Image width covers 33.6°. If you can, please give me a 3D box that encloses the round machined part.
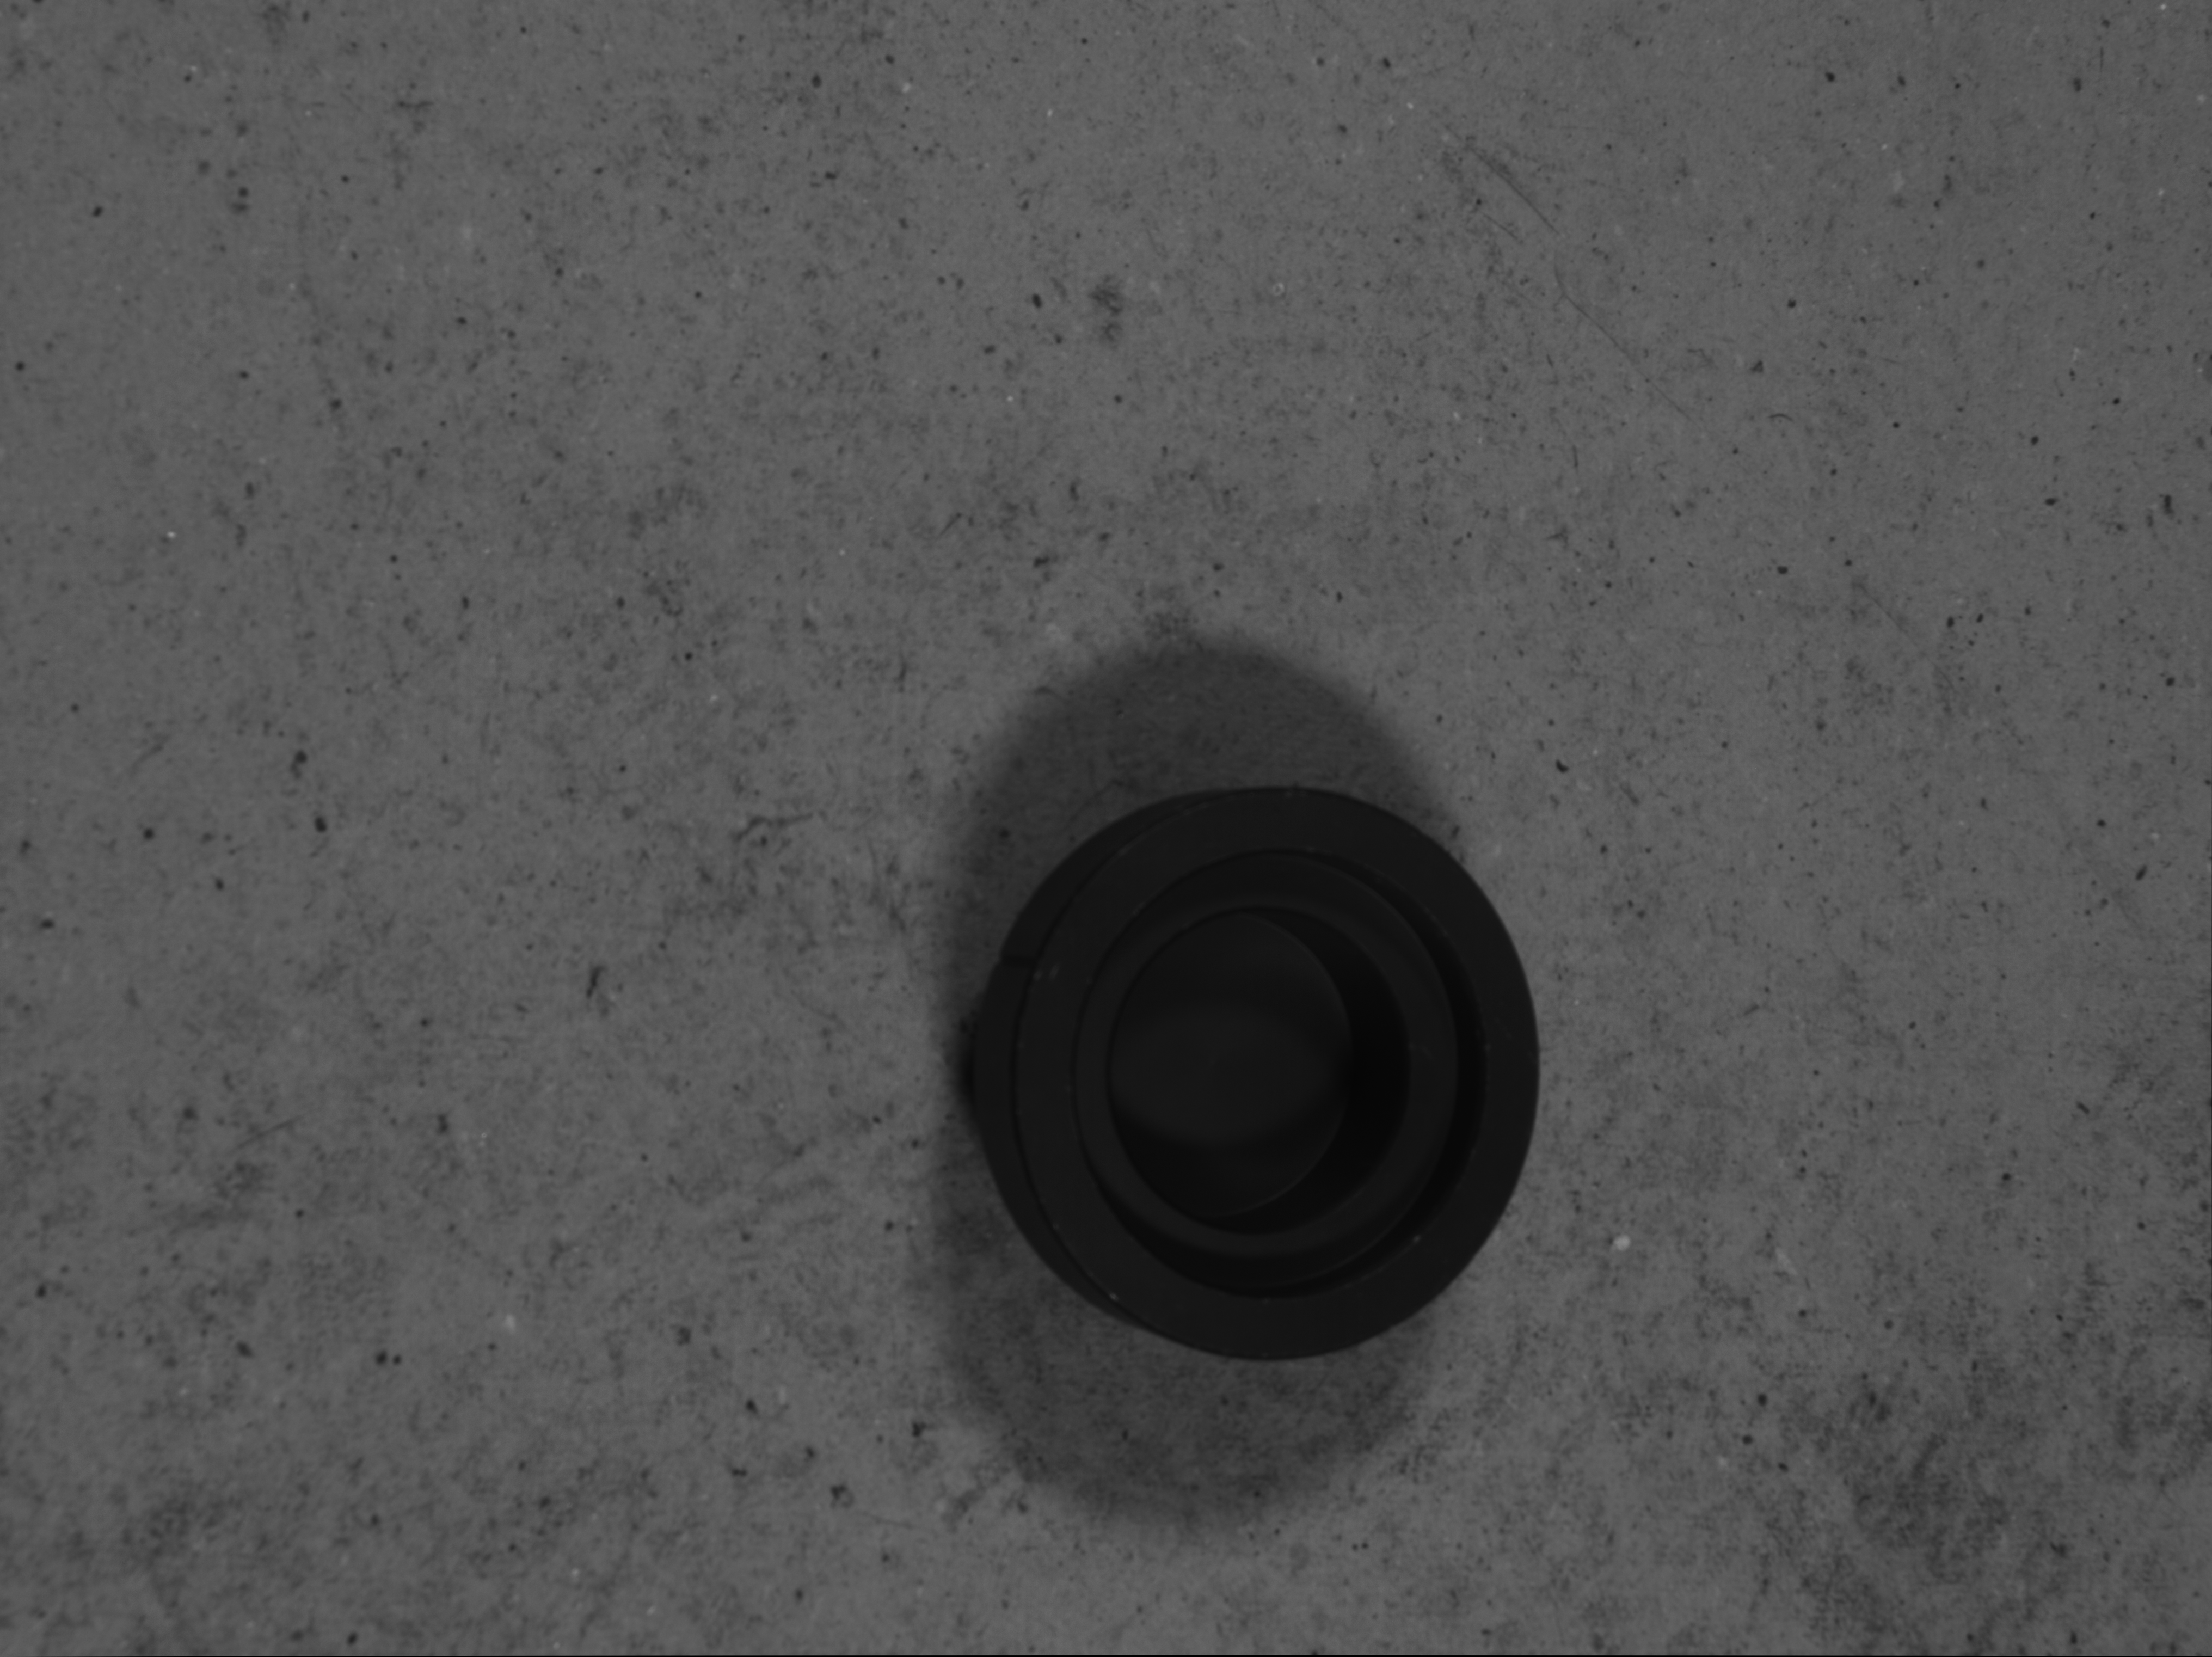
[{"bbox_3d":[0.026,0.042,0.644,0.098,0.042,0.098,0,90,-20],"label":"round machined part"}]
